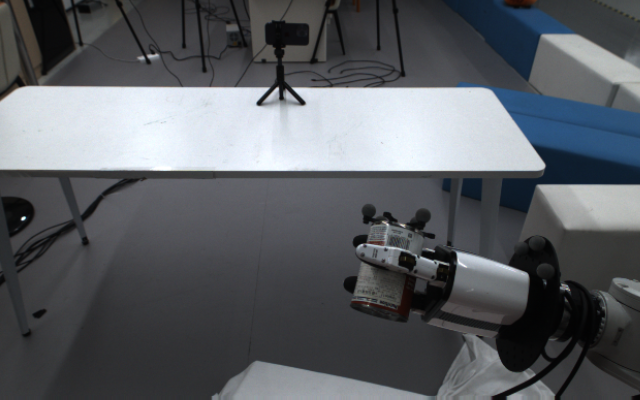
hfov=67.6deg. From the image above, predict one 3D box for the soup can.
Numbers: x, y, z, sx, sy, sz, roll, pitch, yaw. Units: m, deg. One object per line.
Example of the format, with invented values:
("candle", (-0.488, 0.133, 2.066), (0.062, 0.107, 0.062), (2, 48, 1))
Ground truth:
("soup can", (0.082, 0.082, 0.564), (0.067, 0.067, 0.101), (11, 72, 13))
